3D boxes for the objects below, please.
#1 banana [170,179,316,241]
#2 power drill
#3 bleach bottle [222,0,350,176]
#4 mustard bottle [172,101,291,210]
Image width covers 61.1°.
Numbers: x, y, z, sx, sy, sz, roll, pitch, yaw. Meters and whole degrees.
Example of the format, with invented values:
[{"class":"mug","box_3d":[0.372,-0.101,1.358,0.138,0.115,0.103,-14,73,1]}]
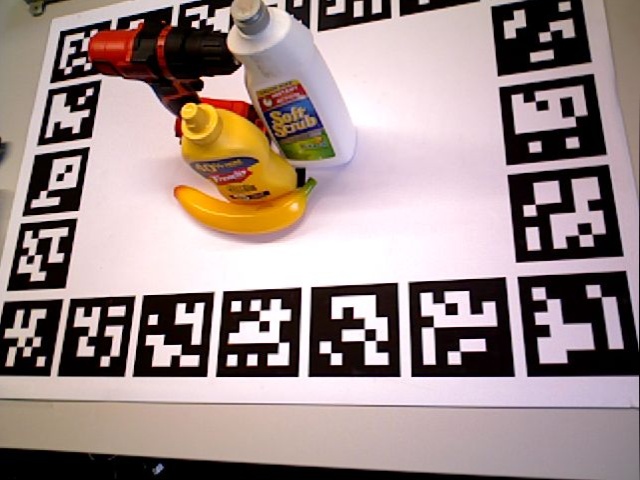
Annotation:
[{"class":"banana","box_3d":[-0.101,-0.035,0.664,0.198,0.039,0.074,0,75,20]},{"class":"power drill","box_3d":[-0.146,-0.163,0.601,0.185,0.188,0.057,9,73,18]},{"class":"bleach bottle","box_3d":[-0.041,-0.159,0.562,0.103,0.252,0.067,-1,66,17]},{"class":"mustard bottle","box_3d":[-0.104,-0.092,0.588,0.096,0.192,0.058,-3,71,15]}]
